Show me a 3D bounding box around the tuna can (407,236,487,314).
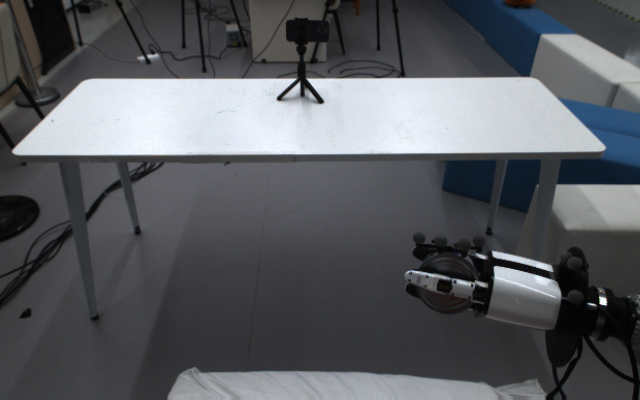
[{"bbox_3d":[0.178,0.110,0.669,0.085,0.085,0.034,13,7,15],"label":"tuna can"}]
